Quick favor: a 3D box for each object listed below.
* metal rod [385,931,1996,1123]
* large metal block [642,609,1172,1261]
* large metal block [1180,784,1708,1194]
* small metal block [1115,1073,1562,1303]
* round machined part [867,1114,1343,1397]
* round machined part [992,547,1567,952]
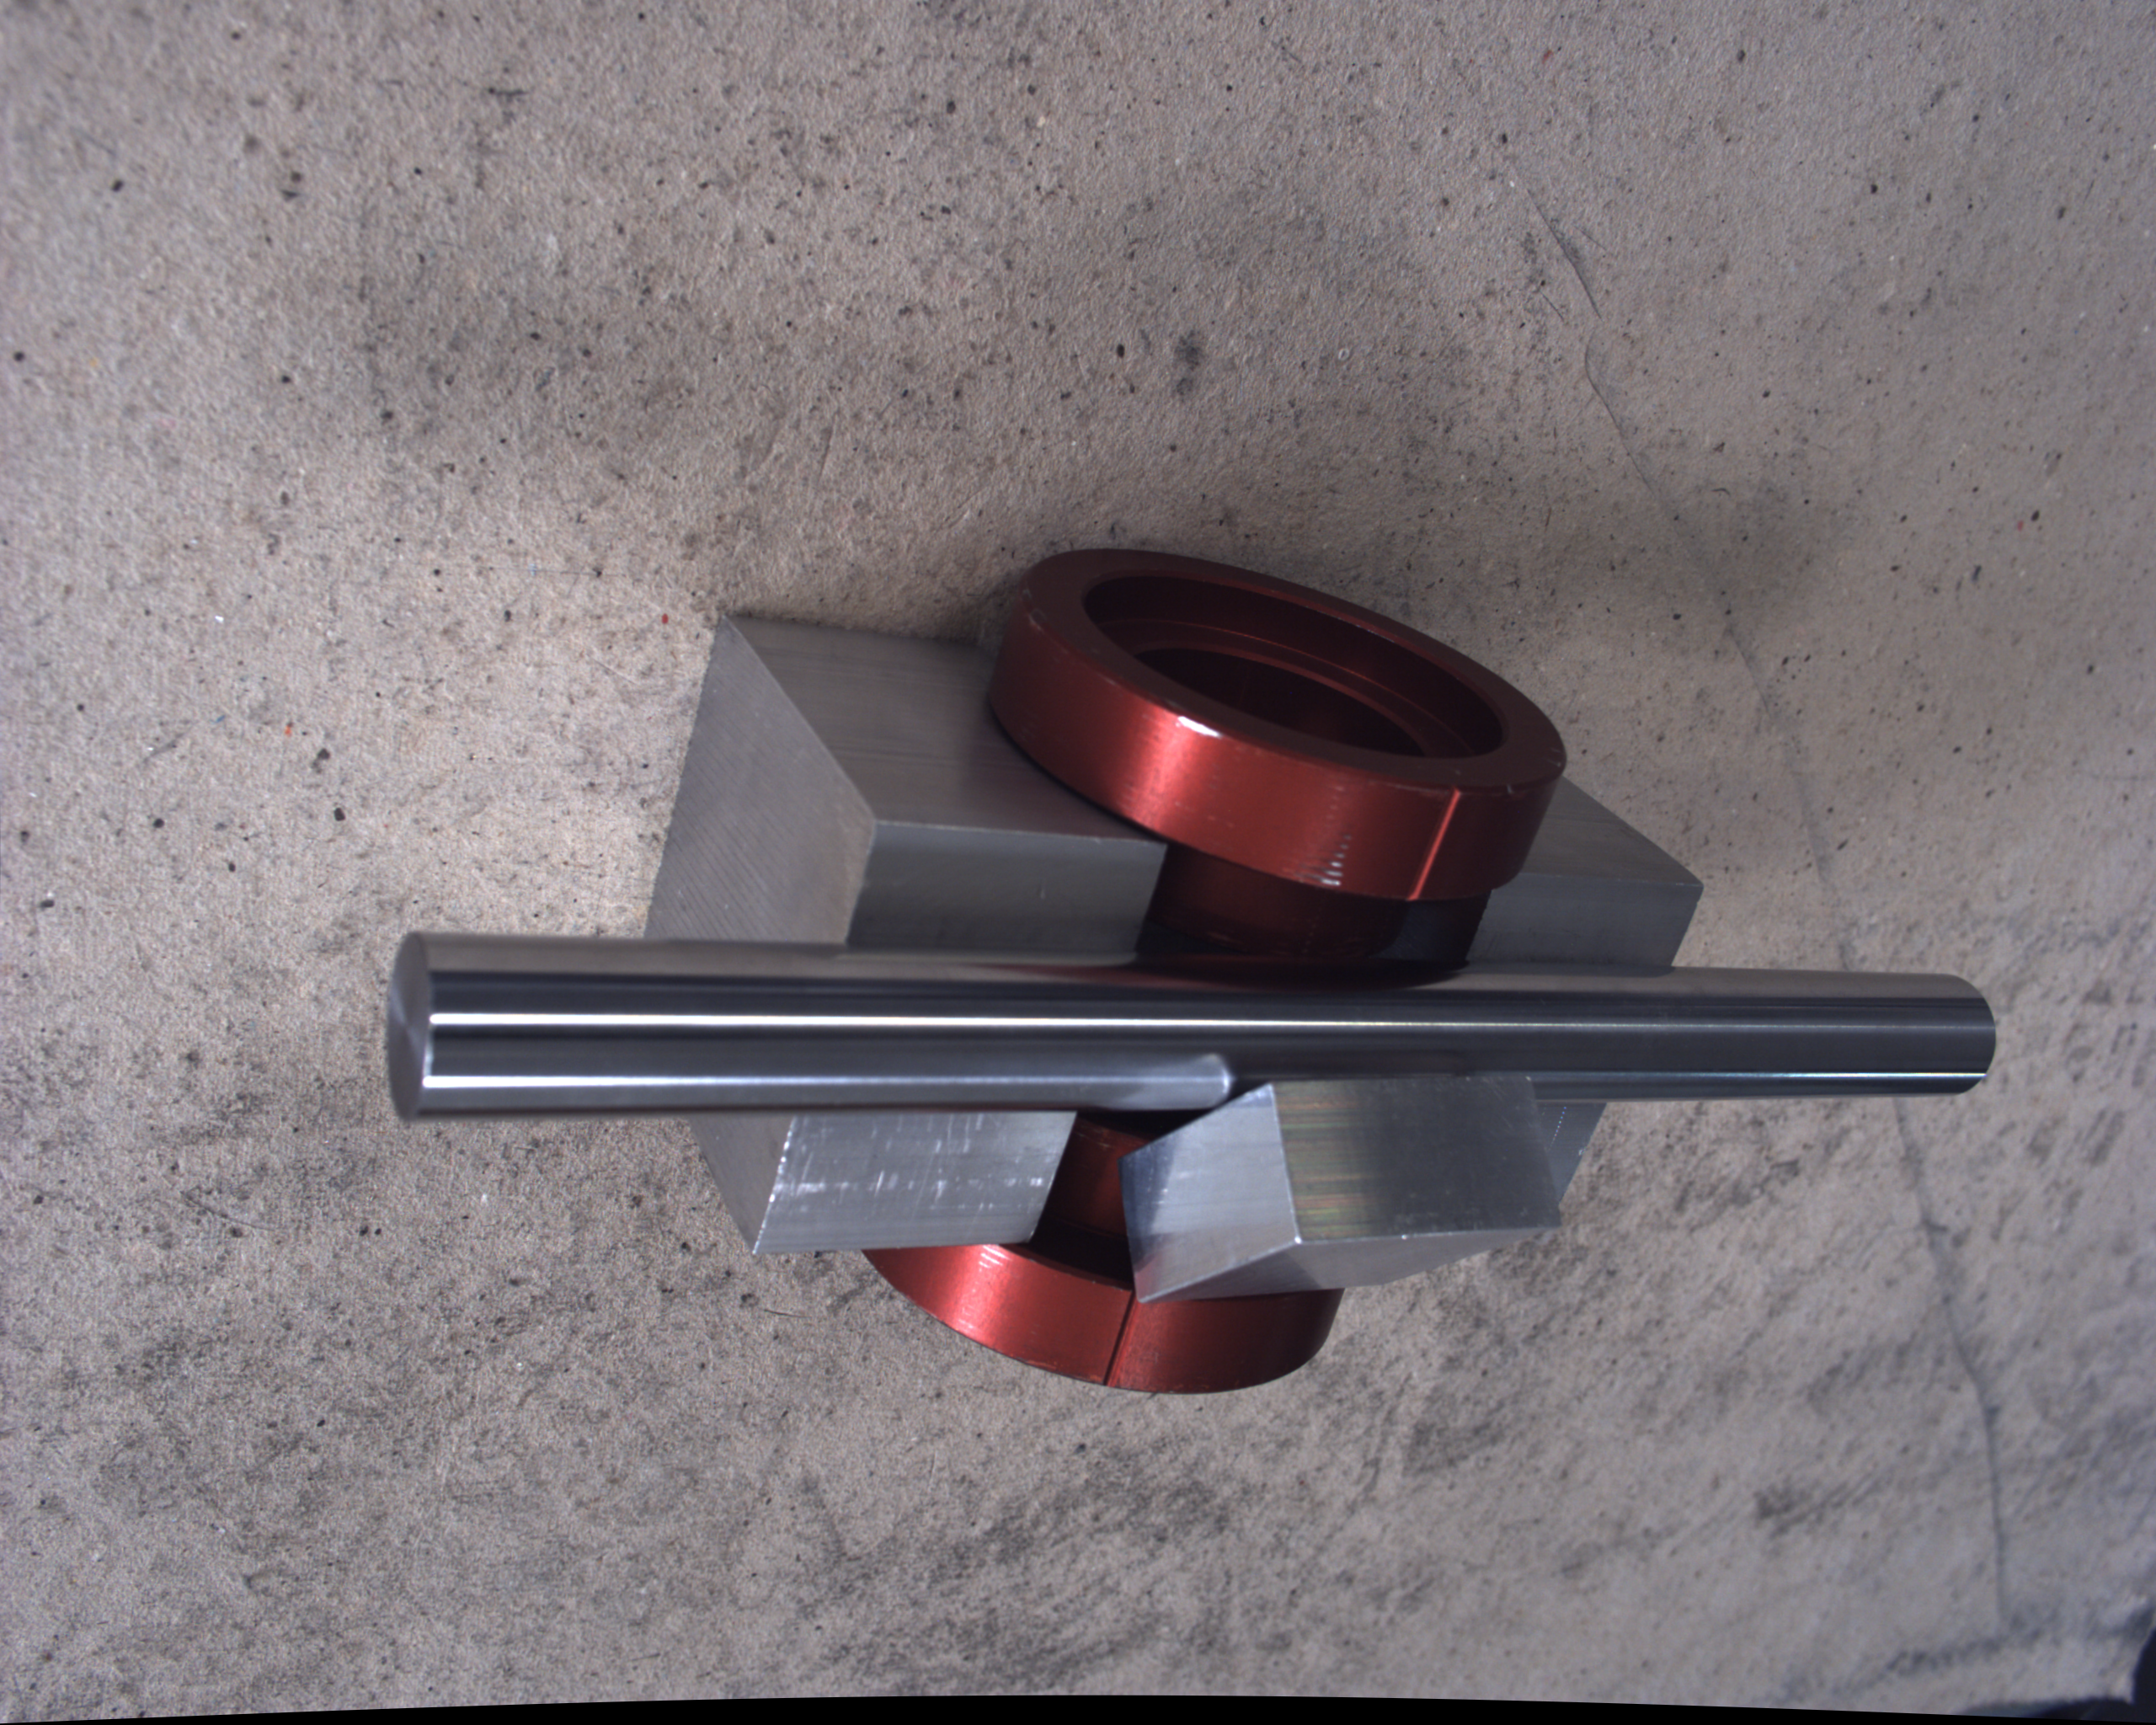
[{"bbox_3d":[0.044,0.028,0.346,0.302,0.025,0.025,3,117,-30],"label":"metal rod"},{"bbox_3d":[-0.035,0.011,0.360,0.050,0.080,0.079,4,116,-31],"label":"large metal block"},{"bbox_3d":[0.067,0.018,0.421,0.050,0.080,0.079,4,117,-30],"label":"large metal block"},{"bbox_3d":[0.042,0.054,0.343,0.050,0.025,0.050,2,158,-28],"label":"small metal block"},{"bbox_3d":[0.008,0.056,0.400,0.099,0.098,0.042,4,111,-31],"label":"round machined part"},{"bbox_3d":[0.032,-0.017,0.368,0.099,0.098,0.042,4,118,-30],"label":"round machined part"}]
